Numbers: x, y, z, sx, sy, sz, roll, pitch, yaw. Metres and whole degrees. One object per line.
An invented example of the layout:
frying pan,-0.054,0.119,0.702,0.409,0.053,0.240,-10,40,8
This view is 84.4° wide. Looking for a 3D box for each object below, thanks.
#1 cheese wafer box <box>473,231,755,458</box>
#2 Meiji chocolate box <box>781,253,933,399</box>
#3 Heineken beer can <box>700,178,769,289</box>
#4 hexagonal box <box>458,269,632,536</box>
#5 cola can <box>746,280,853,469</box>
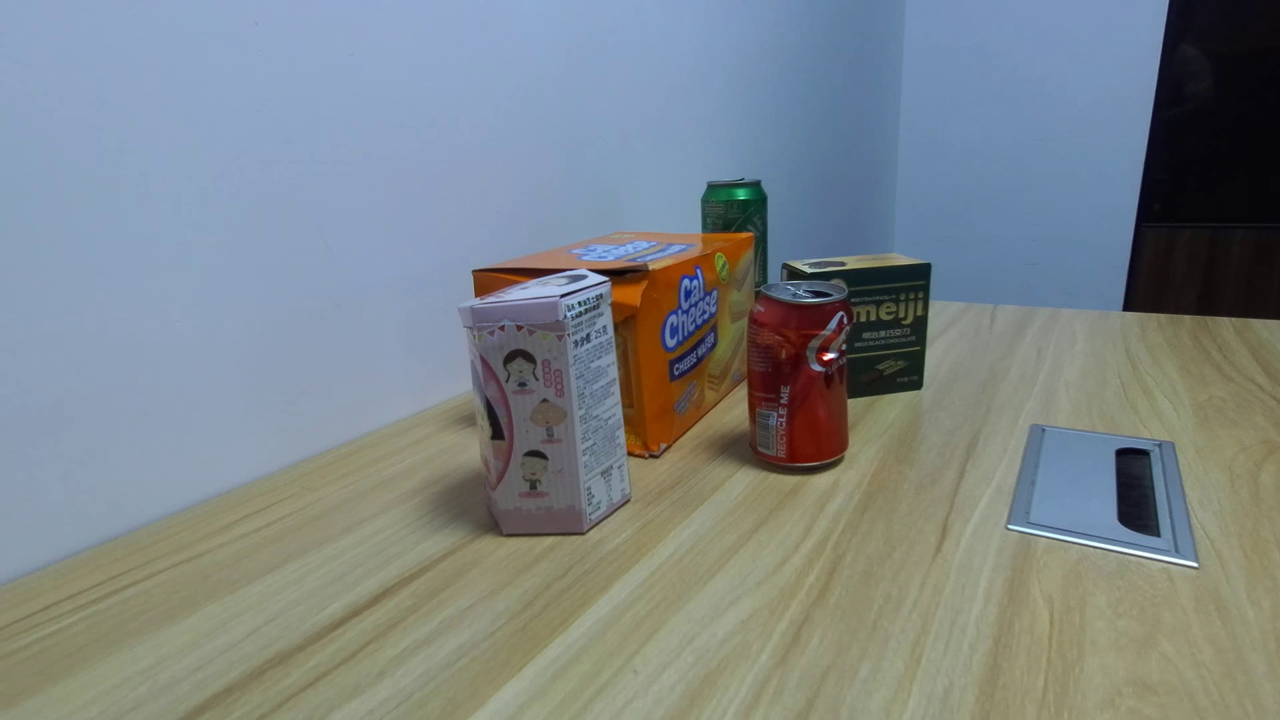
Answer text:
cheese wafer box,-0.008,-0.029,0.580,0.149,0.137,0.228,5,18,26
Meiji chocolate box,0.177,-0.027,0.586,0.110,0.109,0.056,-5,16,-10
Heineken beer can,0.096,-0.091,0.709,0.067,0.169,0.067,-2,7,1
hexagonal box,-0.052,0.023,0.412,0.085,0.135,0.091,-10,18,-21
cola can,0.103,0.008,0.459,0.066,0.117,0.066,2,19,15
